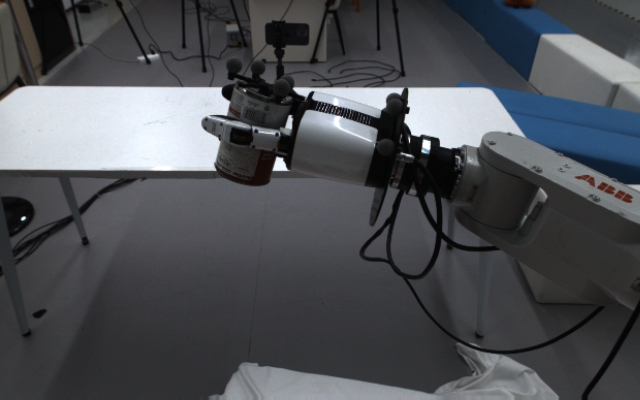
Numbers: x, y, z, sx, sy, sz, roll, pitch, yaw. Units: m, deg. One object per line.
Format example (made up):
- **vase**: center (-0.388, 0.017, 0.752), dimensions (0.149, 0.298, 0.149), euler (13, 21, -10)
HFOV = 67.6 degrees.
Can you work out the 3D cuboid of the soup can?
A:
- **soup can**: center (-0.075, -0.075, 0.551), dimensions (0.067, 0.101, 0.067), euler (17, 21, -7)
